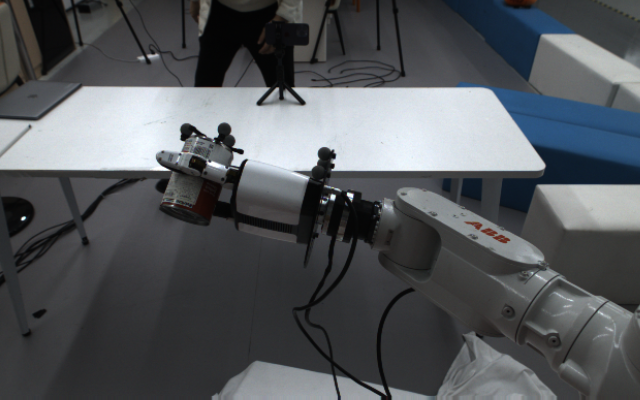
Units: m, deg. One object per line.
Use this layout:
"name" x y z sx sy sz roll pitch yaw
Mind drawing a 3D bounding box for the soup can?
"soup can" -0.160 -0.024 0.634 0.067 0.067 0.101 11 72 13
